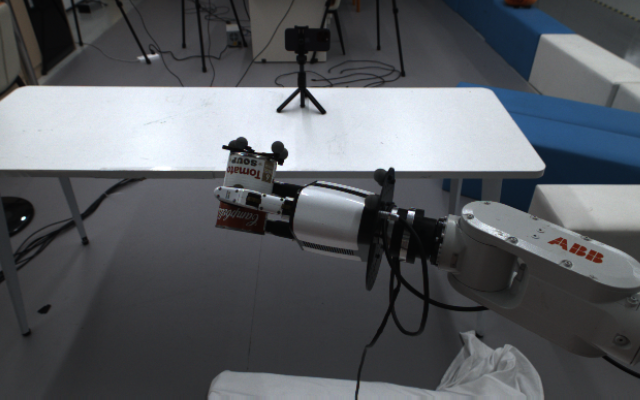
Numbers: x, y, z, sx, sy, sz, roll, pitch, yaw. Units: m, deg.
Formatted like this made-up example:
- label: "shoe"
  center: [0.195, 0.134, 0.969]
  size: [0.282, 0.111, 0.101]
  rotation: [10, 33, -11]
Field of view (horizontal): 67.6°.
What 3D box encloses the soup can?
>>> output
- label: "soup can"
  center: [-0.099, -0.006, 0.656]
  size: [0.067, 0.101, 0.067]
  rotation: [9, -5, 1]
